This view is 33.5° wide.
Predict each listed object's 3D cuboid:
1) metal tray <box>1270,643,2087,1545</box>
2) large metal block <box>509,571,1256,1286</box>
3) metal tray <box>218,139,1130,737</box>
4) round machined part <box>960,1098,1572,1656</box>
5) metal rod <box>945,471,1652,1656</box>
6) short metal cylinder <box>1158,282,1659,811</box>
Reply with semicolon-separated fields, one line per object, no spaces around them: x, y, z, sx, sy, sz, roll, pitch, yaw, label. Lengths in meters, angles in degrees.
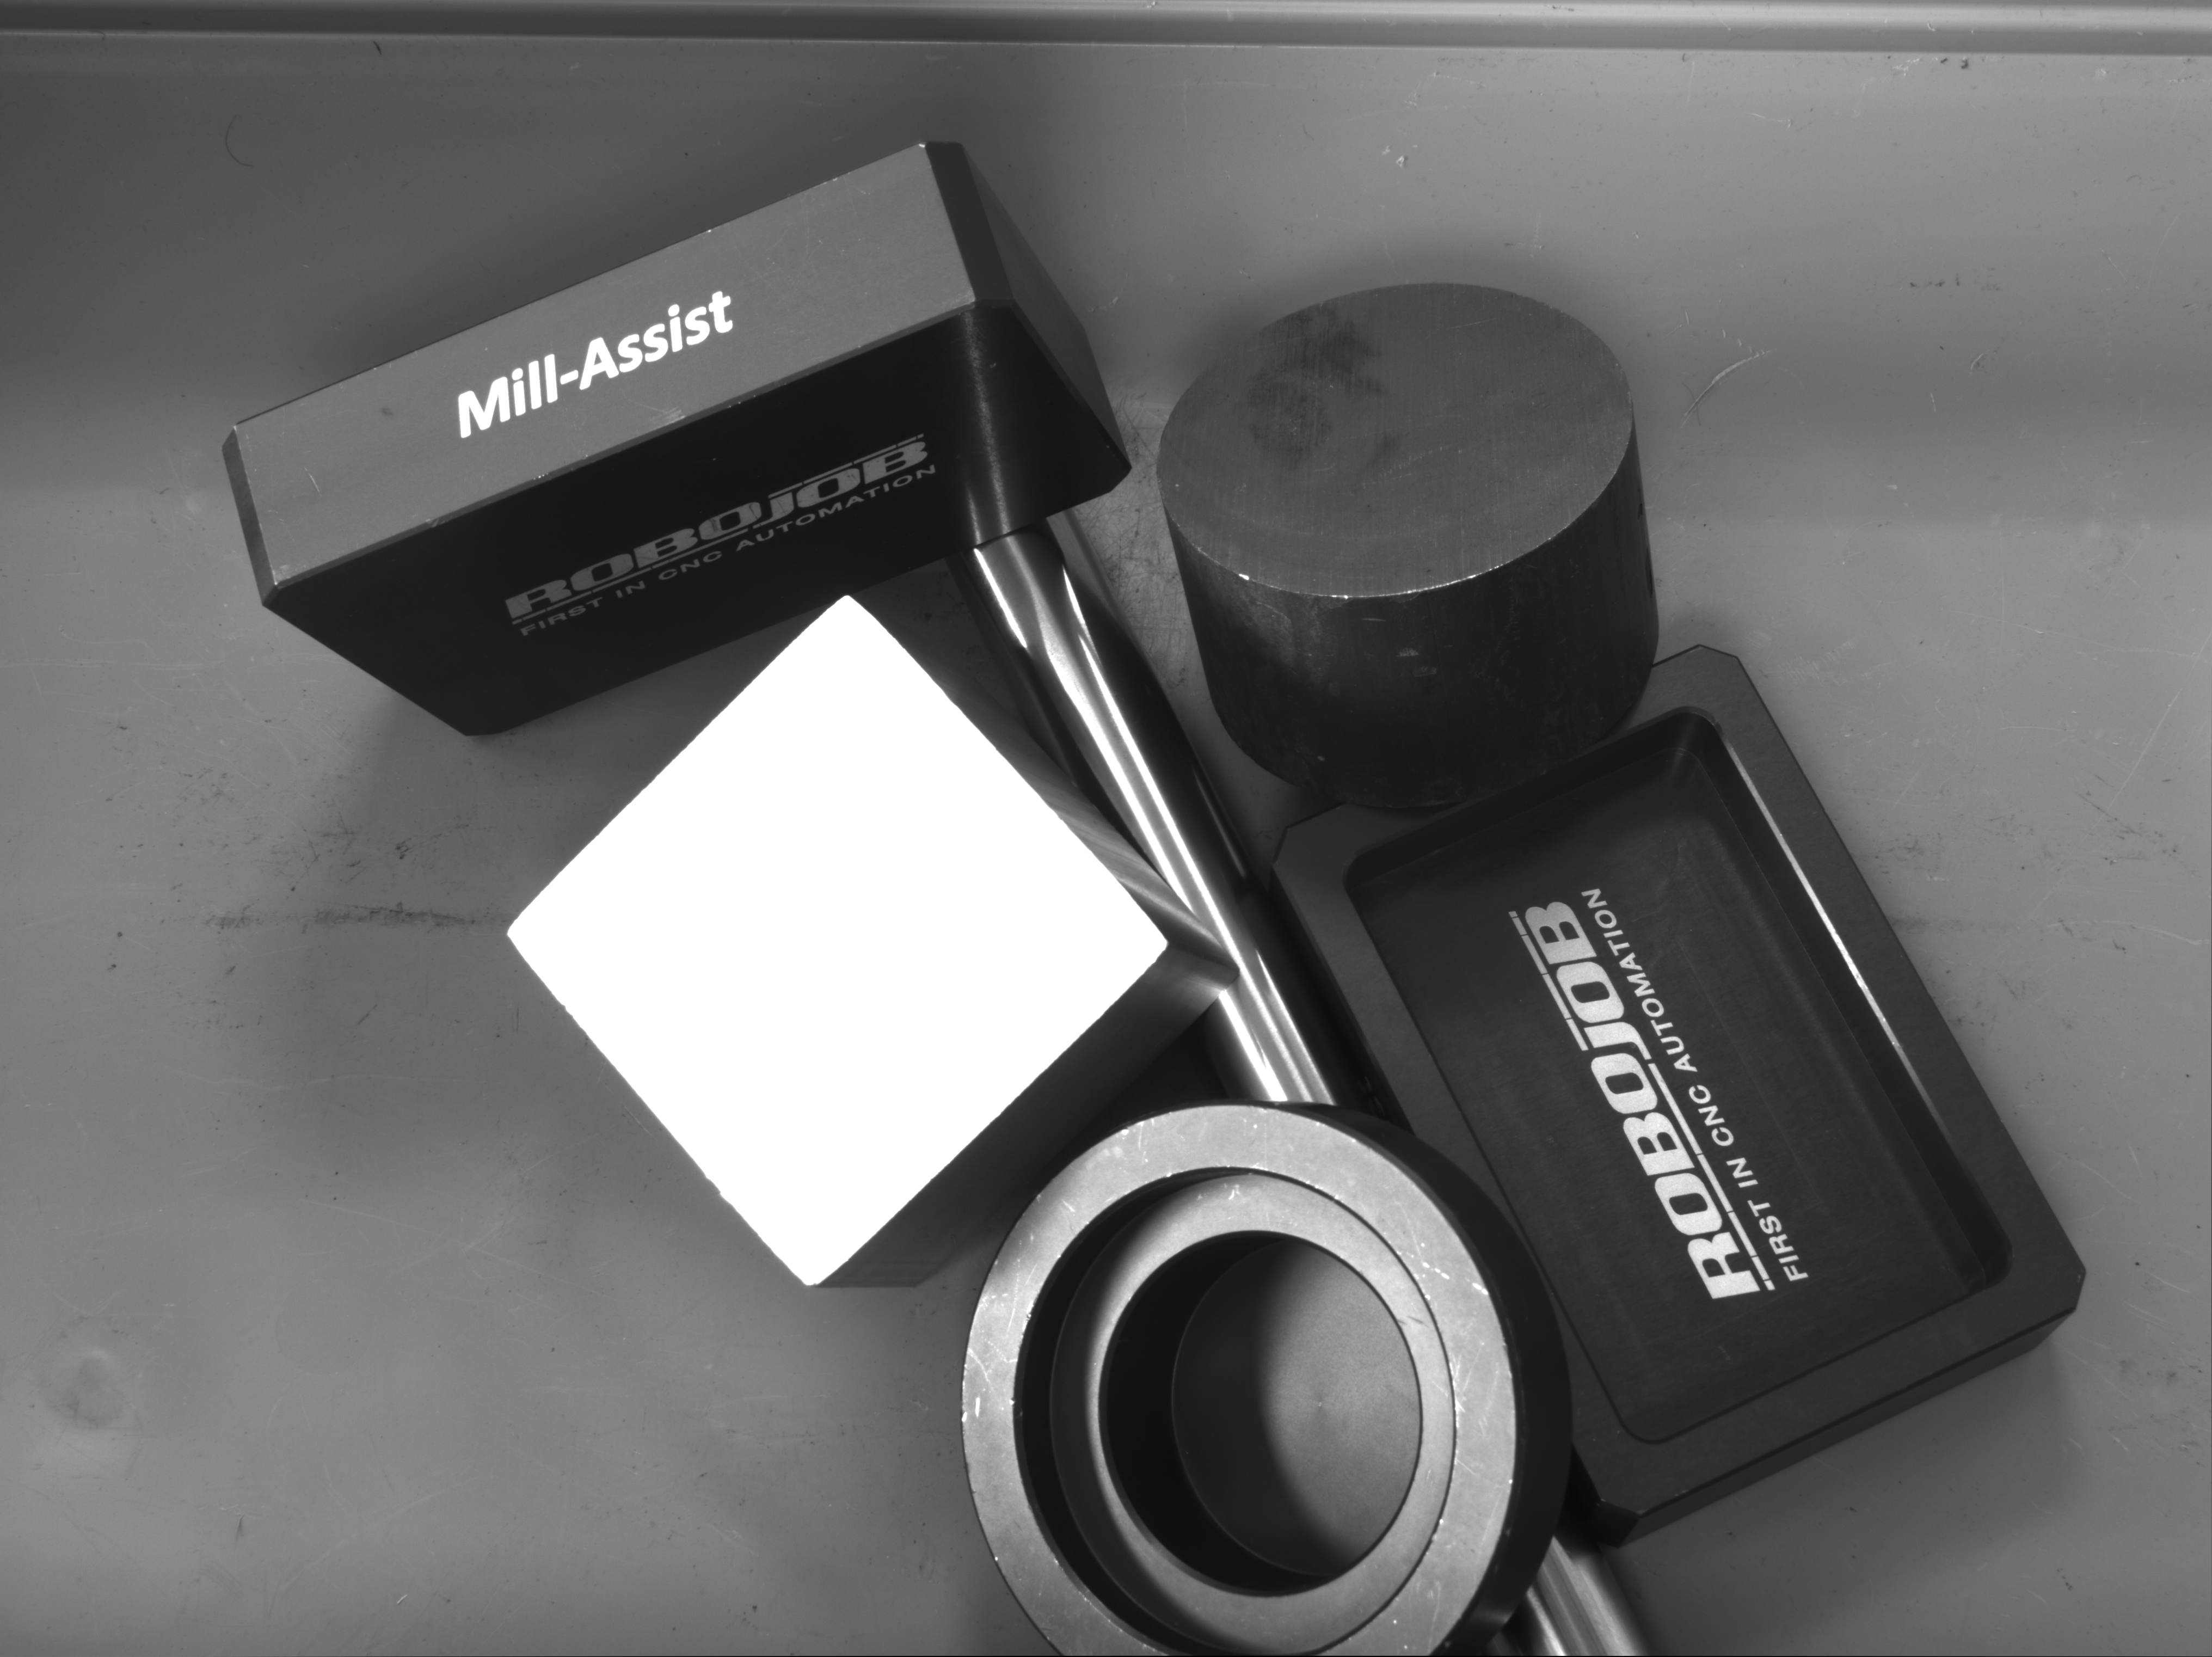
0.094;0.044;0.625;0.090;0.030;0.130;-24;72;-8;metal tray
-0.036;0.018;0.605;0.080;0.050;0.080;-45;75;4;large metal block
-0.070;-0.062;0.617;0.130;0.090;0.030;-21;72;8;metal tray
0.029;0.092;0.586;0.098;0.042;0.098;-3;84;29;round machined part
0.024;0.032;0.632;0.025;0.025;0.300;-24;72;-8;metal rod
0.053;-0.049;0.633;0.080;0.050;0.080;-8;45;8;short metal cylinder
